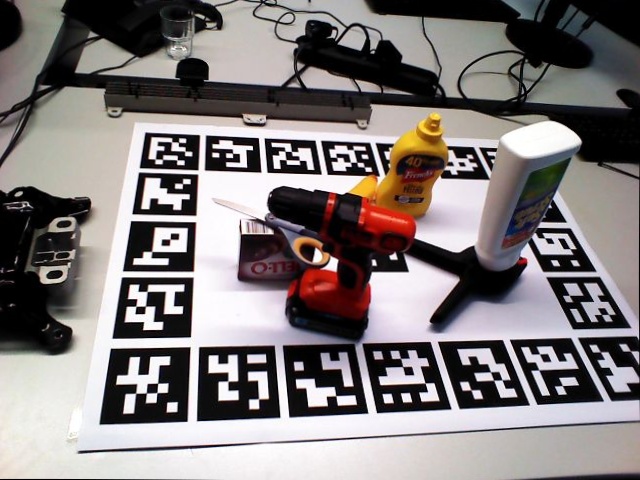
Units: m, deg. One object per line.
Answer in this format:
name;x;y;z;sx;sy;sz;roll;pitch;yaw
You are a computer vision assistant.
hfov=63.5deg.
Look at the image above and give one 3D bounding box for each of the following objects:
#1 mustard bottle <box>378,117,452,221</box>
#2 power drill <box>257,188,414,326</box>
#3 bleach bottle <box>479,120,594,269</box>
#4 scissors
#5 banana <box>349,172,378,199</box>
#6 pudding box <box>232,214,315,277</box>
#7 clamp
mustard bottle;0.163;-0.118;0.849;0.096;0.192;0.058;12;47;-1
power drill;0.010;0.021;0.650;0.185;0.188;0.057;9;40;1
bleach bottle;0.291;-0.043;0.741;0.102;0.252;0.068;-18;50;-16
scissors;-0.068;-0.040;0.707;0.203;0.016;0.087;23;52;3
banana;0.045;-0.087;0.888;0.074;0.039;0.196;27;47;37
pudding box;-0.068;0.009;0.751;0.114;0.090;0.038;5;41;-8
clamp;0.243;0.038;0.802;0.202;0.037;0.165;-3;51;-16
